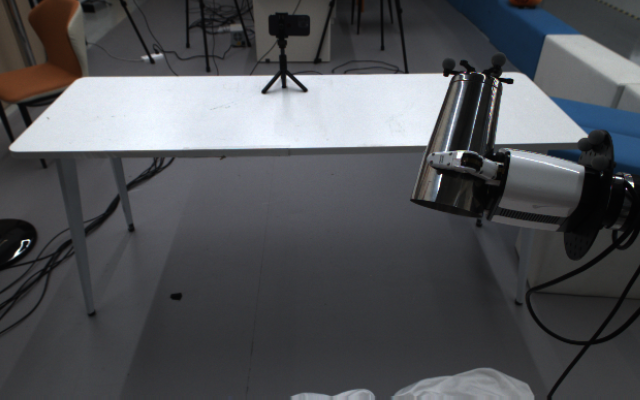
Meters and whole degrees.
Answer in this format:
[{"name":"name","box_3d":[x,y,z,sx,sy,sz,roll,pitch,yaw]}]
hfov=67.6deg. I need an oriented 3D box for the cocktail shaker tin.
[{"name":"cocktail shaker tin","box_3d":[0.181,-0.071,0.623,0.093,0.170,0.093,15,-4,1]}]
